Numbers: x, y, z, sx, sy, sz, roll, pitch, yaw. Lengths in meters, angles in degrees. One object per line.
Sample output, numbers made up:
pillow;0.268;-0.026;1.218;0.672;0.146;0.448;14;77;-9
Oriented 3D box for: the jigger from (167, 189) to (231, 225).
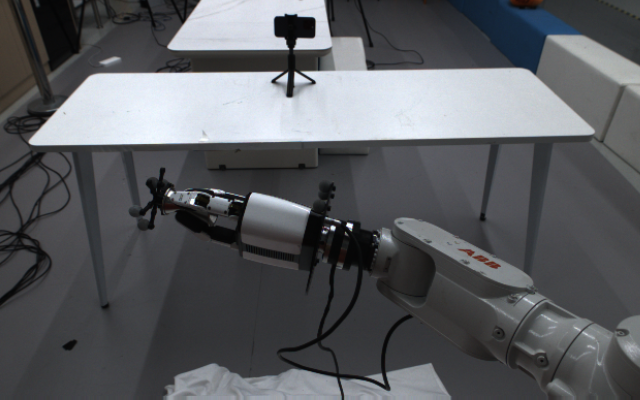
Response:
jigger;-0.172;0.005;0.672;0.071;0.043;0.043;12;36;4
